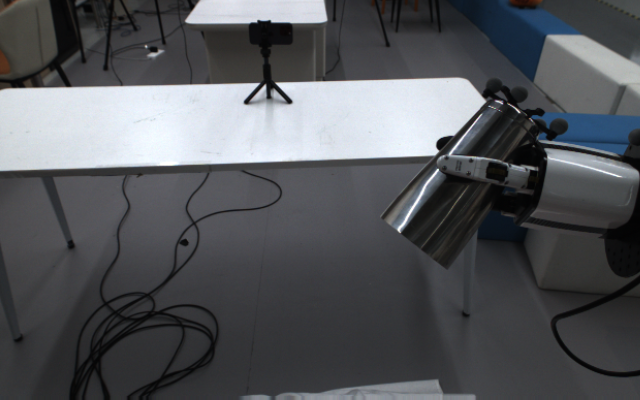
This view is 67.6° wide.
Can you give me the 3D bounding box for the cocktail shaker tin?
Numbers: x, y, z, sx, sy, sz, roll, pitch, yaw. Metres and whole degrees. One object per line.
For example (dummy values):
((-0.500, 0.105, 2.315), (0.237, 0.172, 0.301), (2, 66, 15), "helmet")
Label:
((0.155, -0.024, 0.521), (0.170, 0.093, 0.093), (-50, 46, 4), "cocktail shaker tin")
